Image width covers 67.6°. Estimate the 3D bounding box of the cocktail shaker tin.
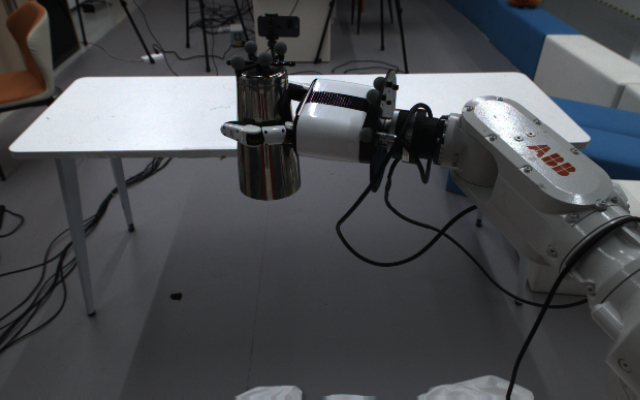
[{"bbox_3d":[-0.073,-0.097,0.667,0.093,0.170,0.093,-1,33,0],"label":"cocktail shaker tin"}]
